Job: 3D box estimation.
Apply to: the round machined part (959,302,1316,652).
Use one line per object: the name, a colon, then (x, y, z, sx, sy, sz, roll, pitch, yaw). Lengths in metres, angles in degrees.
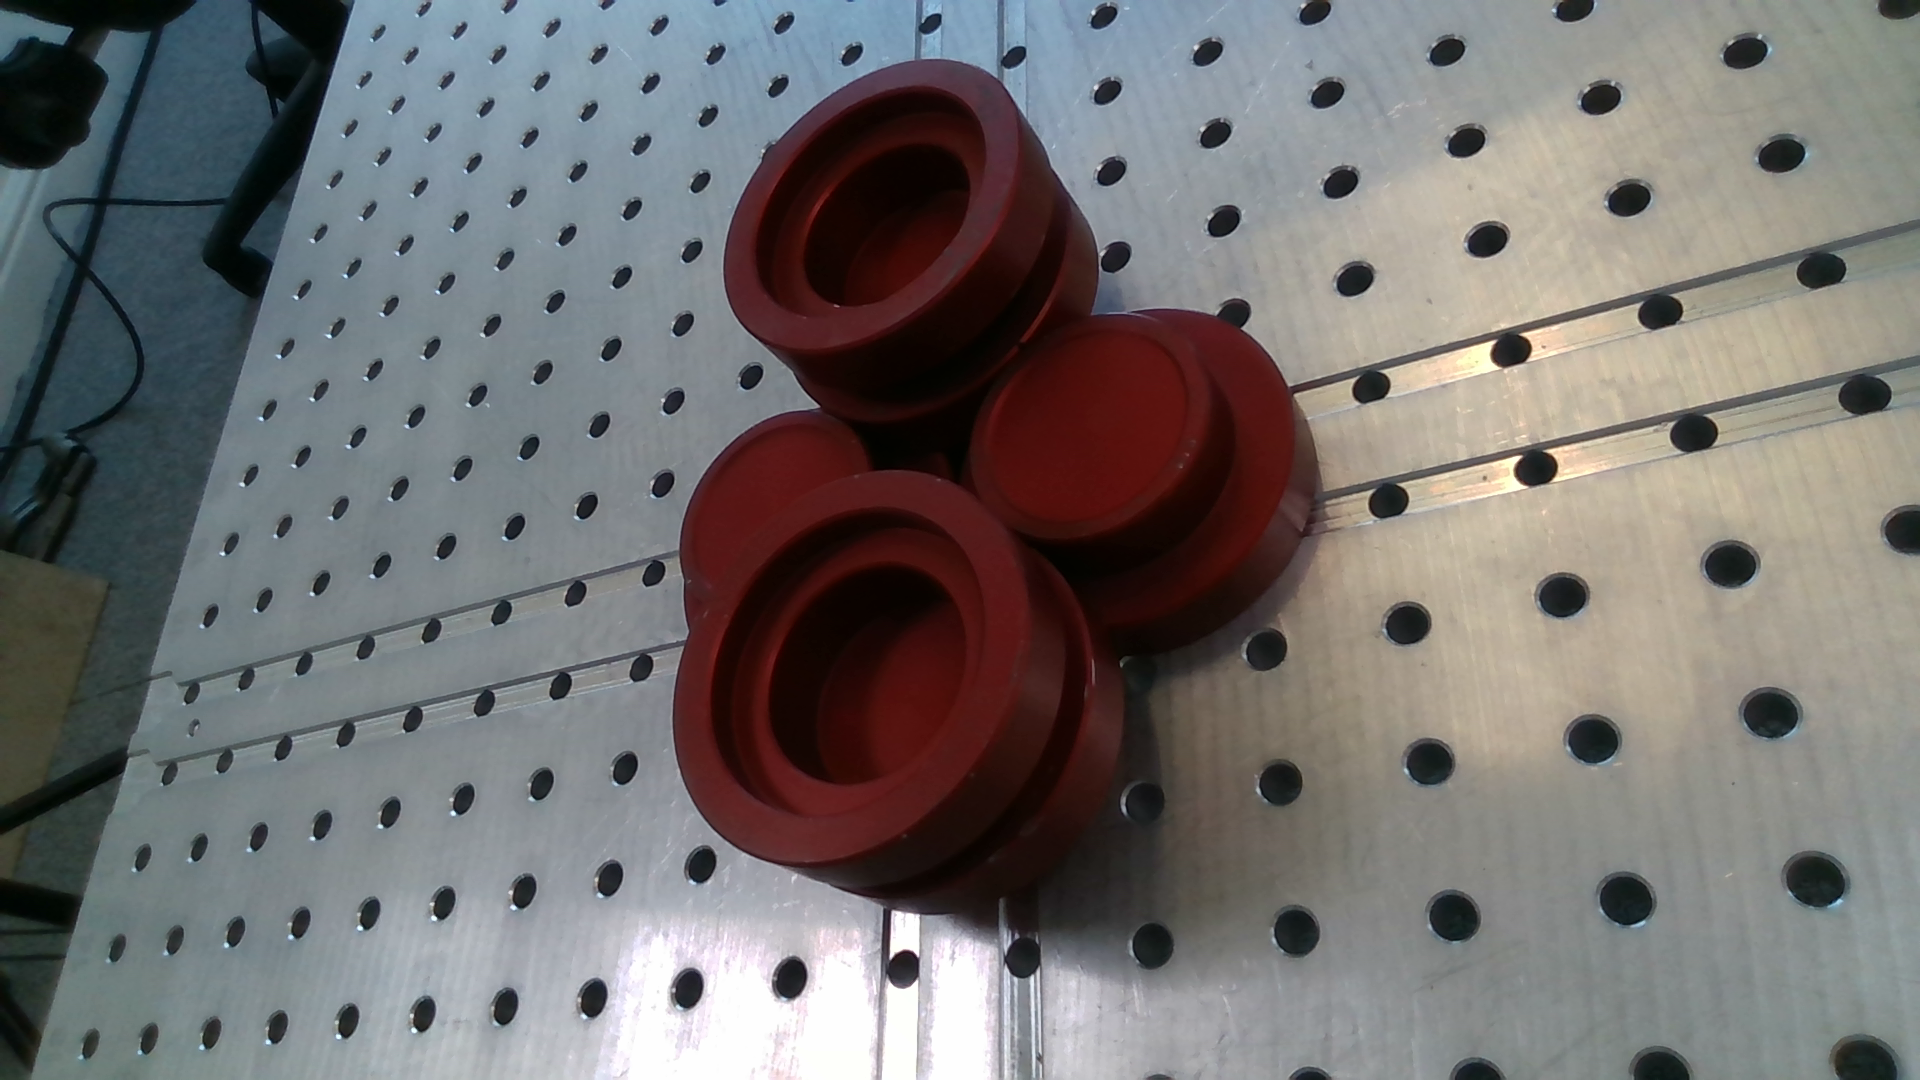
round machined part: (0.042, -0.023, 0.371, 0.098, 0.042, 0.098, -14, 59, 25)

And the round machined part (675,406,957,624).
round machined part: (-0.045, -0.001, 0.412, 0.098, 0.042, 0.098, -14, 59, 25)

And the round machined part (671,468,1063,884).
round machined part: (-0.019, 0.035, 0.336, 0.098, 0.042, 0.098, -14, 59, 25)

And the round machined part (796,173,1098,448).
round machined part: (-0.002, -0.071, 0.423, 0.098, 0.042, 0.098, -14, 59, 25)

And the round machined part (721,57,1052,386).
round machined part: (-0.017, -0.087, 0.399, 0.098, 0.042, 0.098, -14, 59, 25)

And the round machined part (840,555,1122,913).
round machined part: (-0.003, 0.048, 0.360, 0.098, 0.042, 0.098, -14, 59, 25)
